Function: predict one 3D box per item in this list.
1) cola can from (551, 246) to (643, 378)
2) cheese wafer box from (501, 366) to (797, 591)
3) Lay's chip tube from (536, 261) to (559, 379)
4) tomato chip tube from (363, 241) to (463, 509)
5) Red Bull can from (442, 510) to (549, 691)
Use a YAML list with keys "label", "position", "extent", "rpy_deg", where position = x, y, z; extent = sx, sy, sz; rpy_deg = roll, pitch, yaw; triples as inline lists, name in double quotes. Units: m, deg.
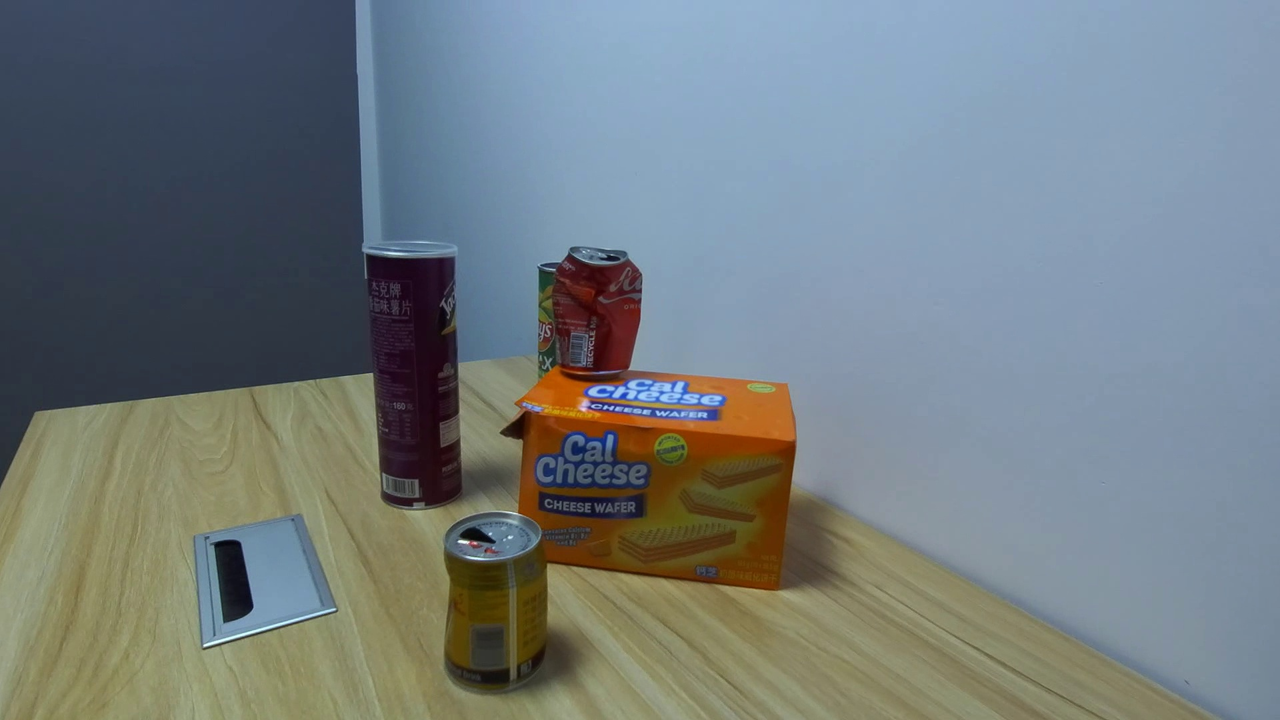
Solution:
- label: "cola can"
  position: [-0.041, -0.042, 0.626]
  extent: [0.069, 0.112, 0.066]
  rpy_deg: [12, 19, 25]
- label: "cheese wafer box"
  position: [0.015, 0.089, 0.608]
  extent: [0.227, 0.137, 0.150]
  rpy_deg: [5, 16, 8]
- label: "Lay's chip tube"
  position: [-0.081, -0.006, 0.805]
  extent: [0.071, 0.202, 0.071]
  rpy_deg: [2, 12, 0]
- label: "tomato chip tube"
  position: [-0.206, 0.015, 0.653]
  extent: [0.078, 0.234, 0.078]
  rpy_deg: [3, 17, -1]
- label: "Red Bull can"
  position: [-0.092, 0.151, 0.447]
  extent: [0.069, 0.092, 0.069]
  rpy_deg: [3, 16, -1]
